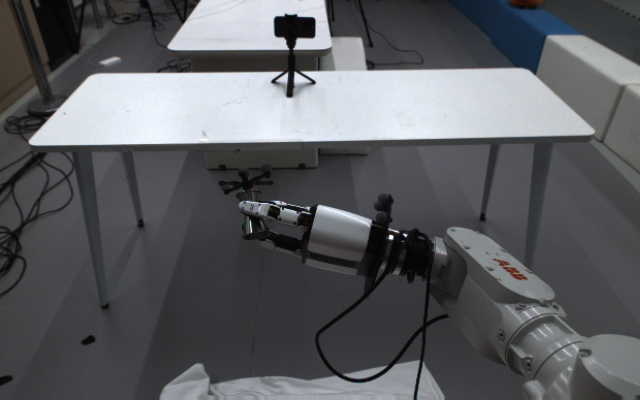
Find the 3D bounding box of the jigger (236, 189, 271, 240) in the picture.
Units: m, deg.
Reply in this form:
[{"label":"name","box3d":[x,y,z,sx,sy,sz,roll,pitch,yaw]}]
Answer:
[{"label":"jigger","box3d":[-0.101,0.022,0.727,0.043,0.043,0.071,-9,73,-15]}]
